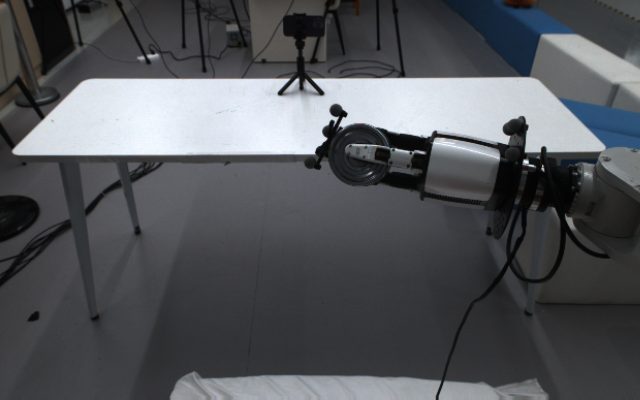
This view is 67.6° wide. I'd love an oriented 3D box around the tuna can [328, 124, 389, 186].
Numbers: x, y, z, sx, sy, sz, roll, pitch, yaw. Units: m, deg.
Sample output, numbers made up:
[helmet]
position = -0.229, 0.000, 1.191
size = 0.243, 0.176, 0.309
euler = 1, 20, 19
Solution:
[tuna can]
position = 0.057, -0.063, 0.661
size = 0.085, 0.085, 0.034
euler = 8, 5, 9
